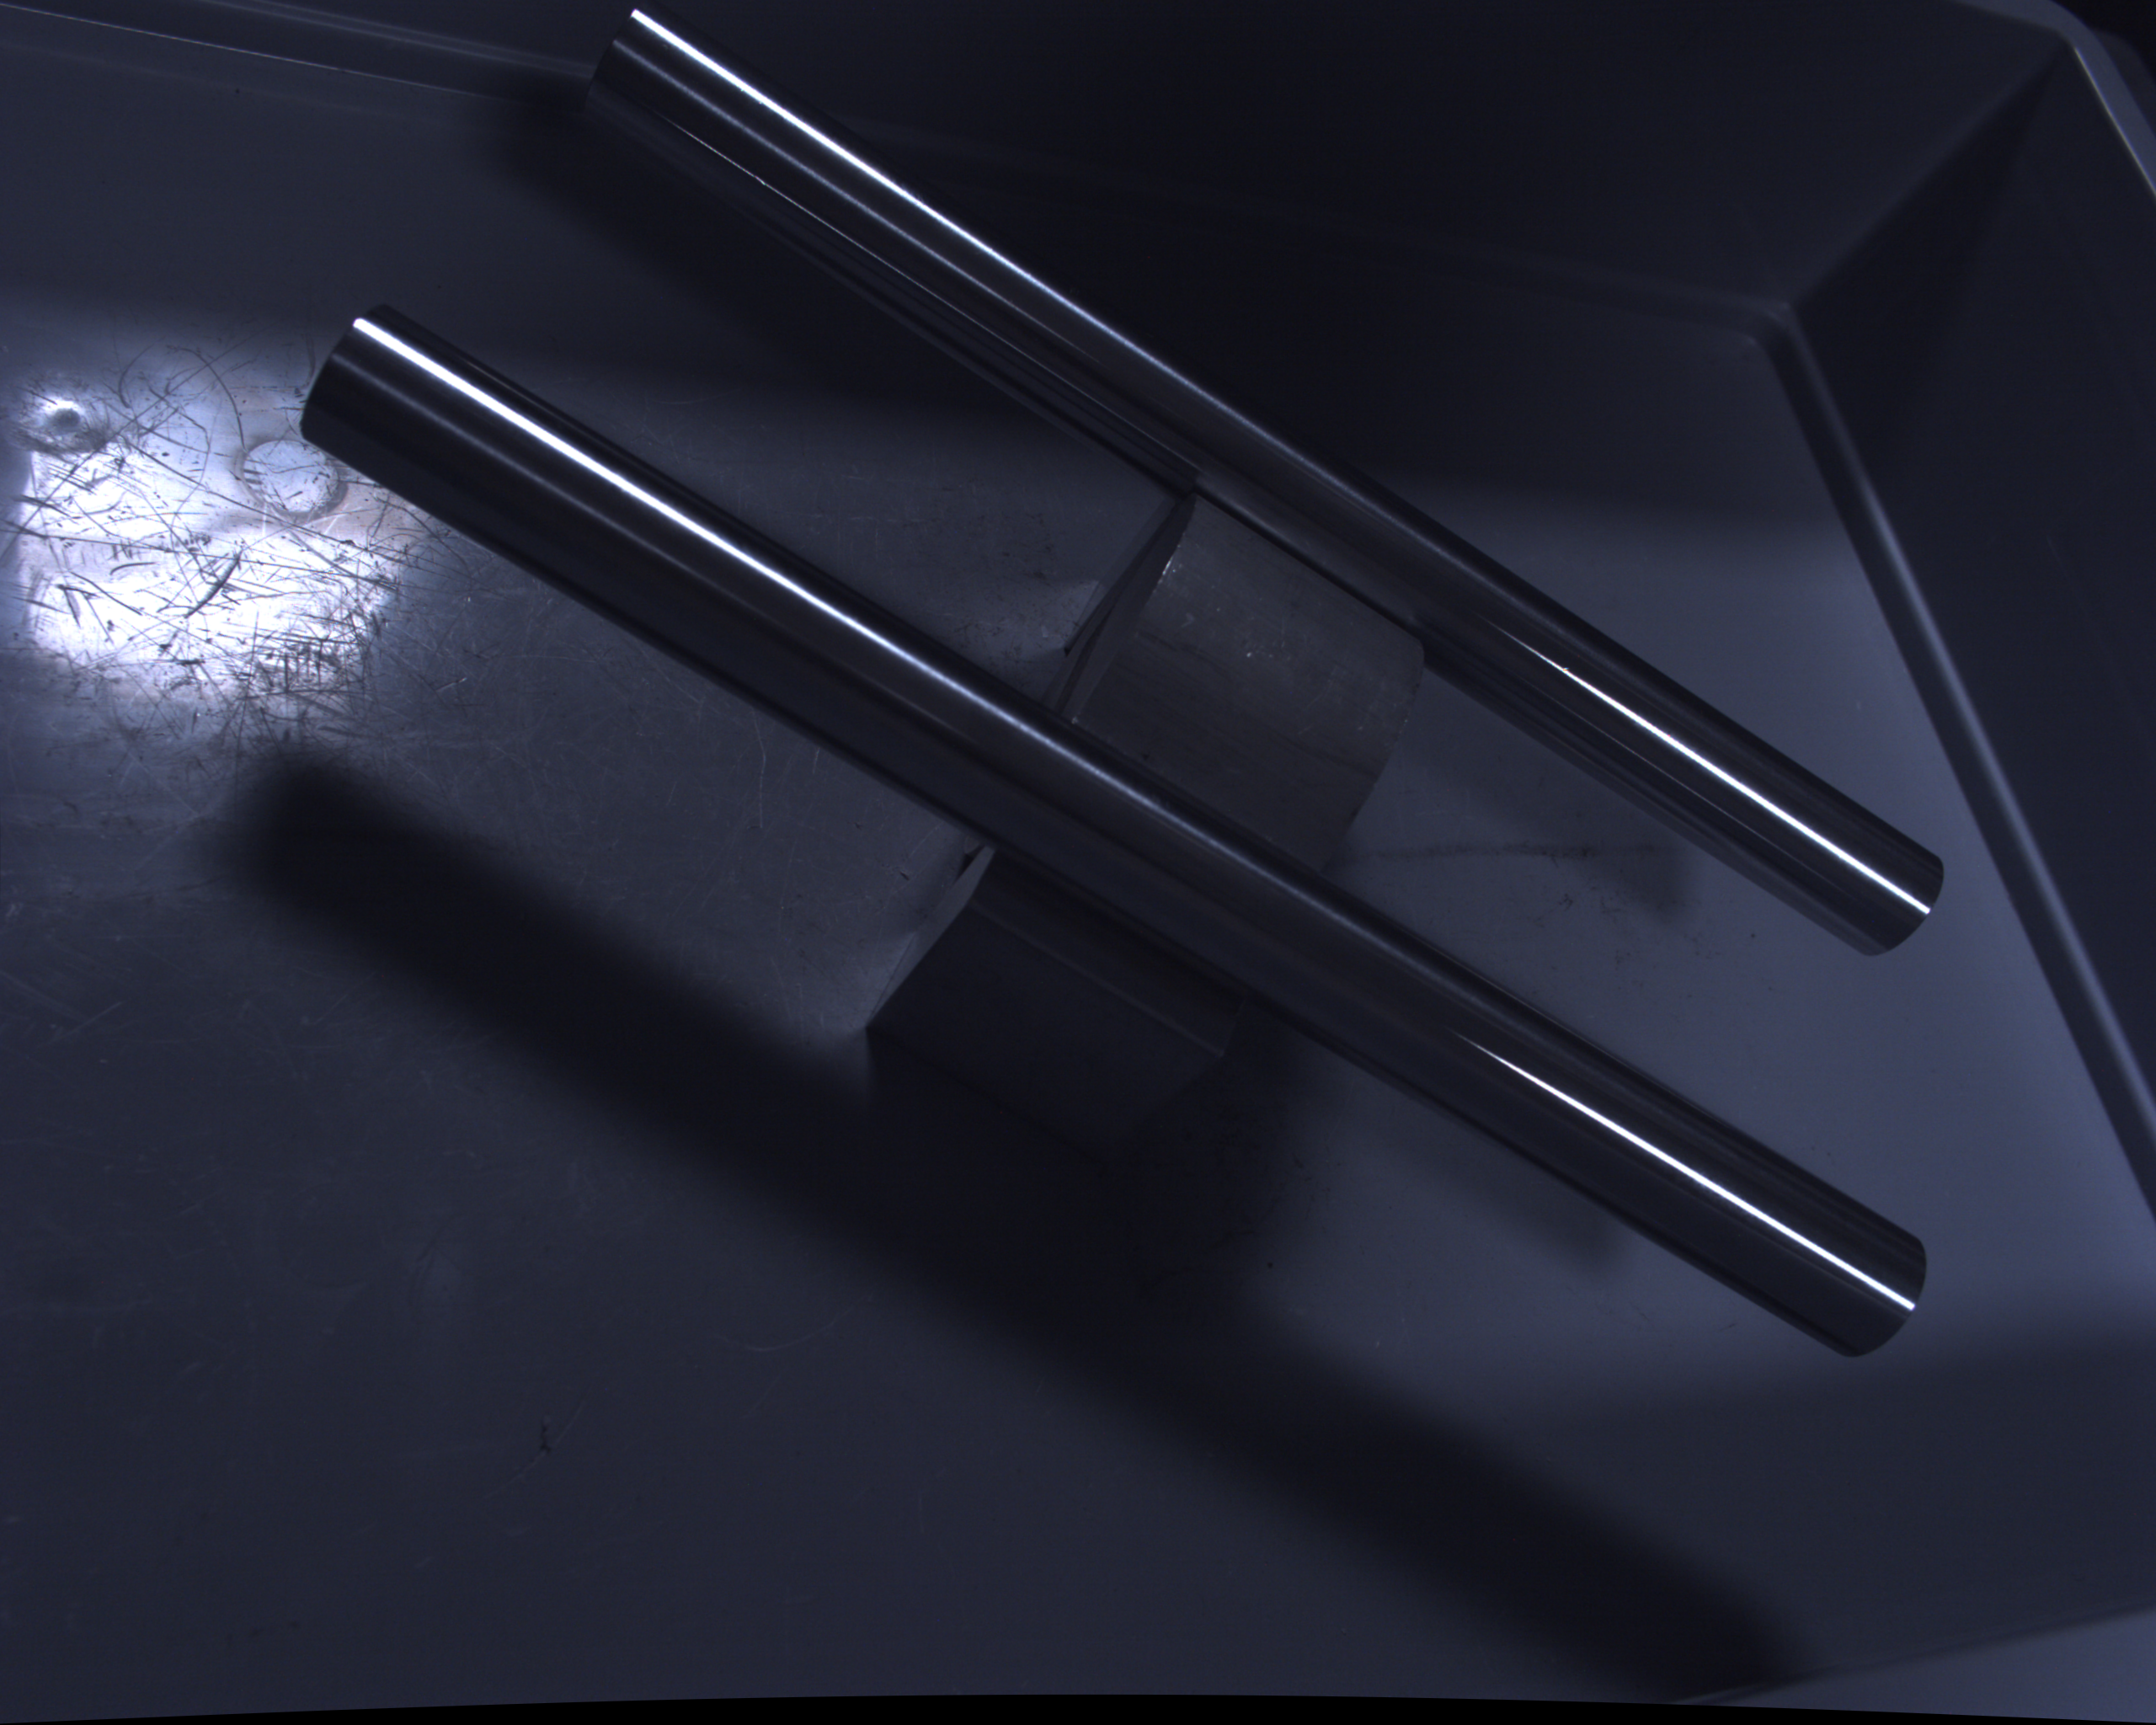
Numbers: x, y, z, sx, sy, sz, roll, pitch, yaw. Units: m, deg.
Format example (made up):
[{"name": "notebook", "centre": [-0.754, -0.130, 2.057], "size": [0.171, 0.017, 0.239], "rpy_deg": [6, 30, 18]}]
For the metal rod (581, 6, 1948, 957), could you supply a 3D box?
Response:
[{"name": "metal rod", "centre": [0.042, -0.069, 0.406], "size": [0.301, 0.025, 0.025], "rpy_deg": [31, 52, -8]}]

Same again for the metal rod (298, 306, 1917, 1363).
[{"name": "metal rod", "centre": [0.012, 0.001, 0.349], "size": [0.301, 0.025, 0.025], "rpy_deg": [31, 52, -8]}]

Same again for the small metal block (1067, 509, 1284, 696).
[{"name": "small metal block", "centre": [0.033, -0.053, 0.439], "size": [0.050, 0.050, 0.025], "rpy_deg": [32, 52, -8]}]

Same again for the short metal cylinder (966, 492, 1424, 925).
[{"name": "short metal cylinder", "centre": [0.021, -0.023, 0.395], "size": [0.050, 0.080, 0.080], "rpy_deg": [32, 51, -8]}]

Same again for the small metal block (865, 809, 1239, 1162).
[{"name": "small metal block", "centre": [-0.003, 0.022, 0.374], "size": [0.050, 0.050, 0.025], "rpy_deg": [32, 52, -8]}]
